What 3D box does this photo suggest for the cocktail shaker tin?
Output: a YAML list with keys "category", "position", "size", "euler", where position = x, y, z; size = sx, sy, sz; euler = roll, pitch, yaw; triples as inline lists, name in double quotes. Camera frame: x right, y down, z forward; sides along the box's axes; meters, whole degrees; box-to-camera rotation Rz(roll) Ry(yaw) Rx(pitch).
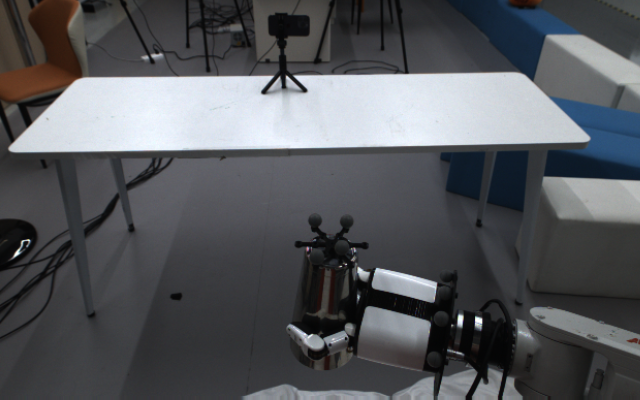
- category: "cocktail shaker tin"
  position: [0.012, 0.130, 0.635]
  size: [0.093, 0.170, 0.093]
  euler: [3, 34, -2]
